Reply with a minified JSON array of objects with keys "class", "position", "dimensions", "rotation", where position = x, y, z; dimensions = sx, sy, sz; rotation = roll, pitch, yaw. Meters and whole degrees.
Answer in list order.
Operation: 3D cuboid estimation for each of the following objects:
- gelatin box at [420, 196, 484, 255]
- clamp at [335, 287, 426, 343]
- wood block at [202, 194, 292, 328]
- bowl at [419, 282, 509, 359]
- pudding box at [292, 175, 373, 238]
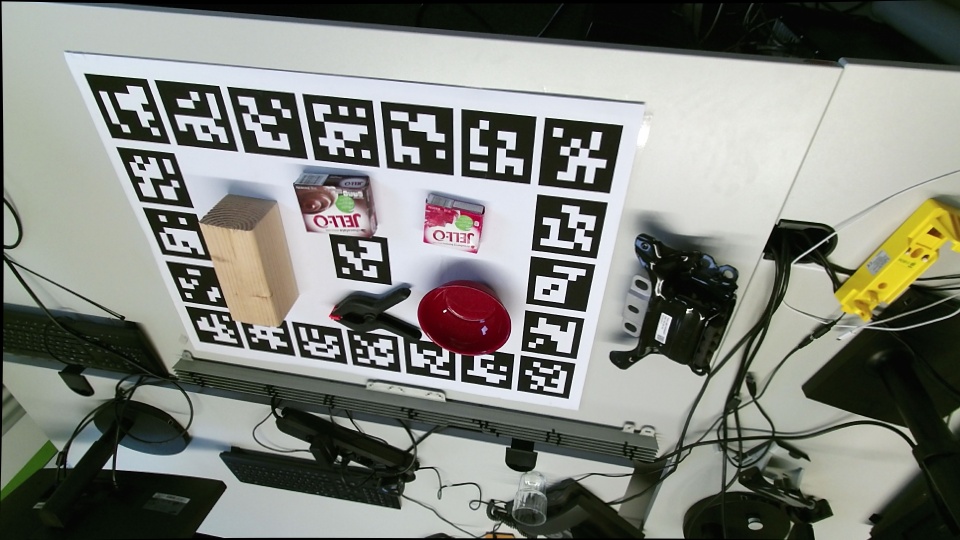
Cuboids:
[{"class":"gelatin box","position":[-0.043,-0.068,0.828],"dimensions":[0.089,0.030,0.073],"rotation":[14,125,2]},{"class":"clamp","position":[-0.186,0.083,0.975],"dimensions":[0.165,0.036,0.122],"rotation":[0,125,15]},{"class":"wood block","position":[-0.393,-0.012,0.906],"dimensions":[0.090,0.090,0.206],"rotation":[10,126,6]},{"class":"bowl","position":[-0.026,0.076,0.923],"dimensions":[0.162,0.055,0.161],"rotation":[6,123,9]},{"class":"pudding box","position":[-0.228,-0.100,0.840],"dimensions":[0.114,0.038,0.090],"rotation":[6,122,5]}]
